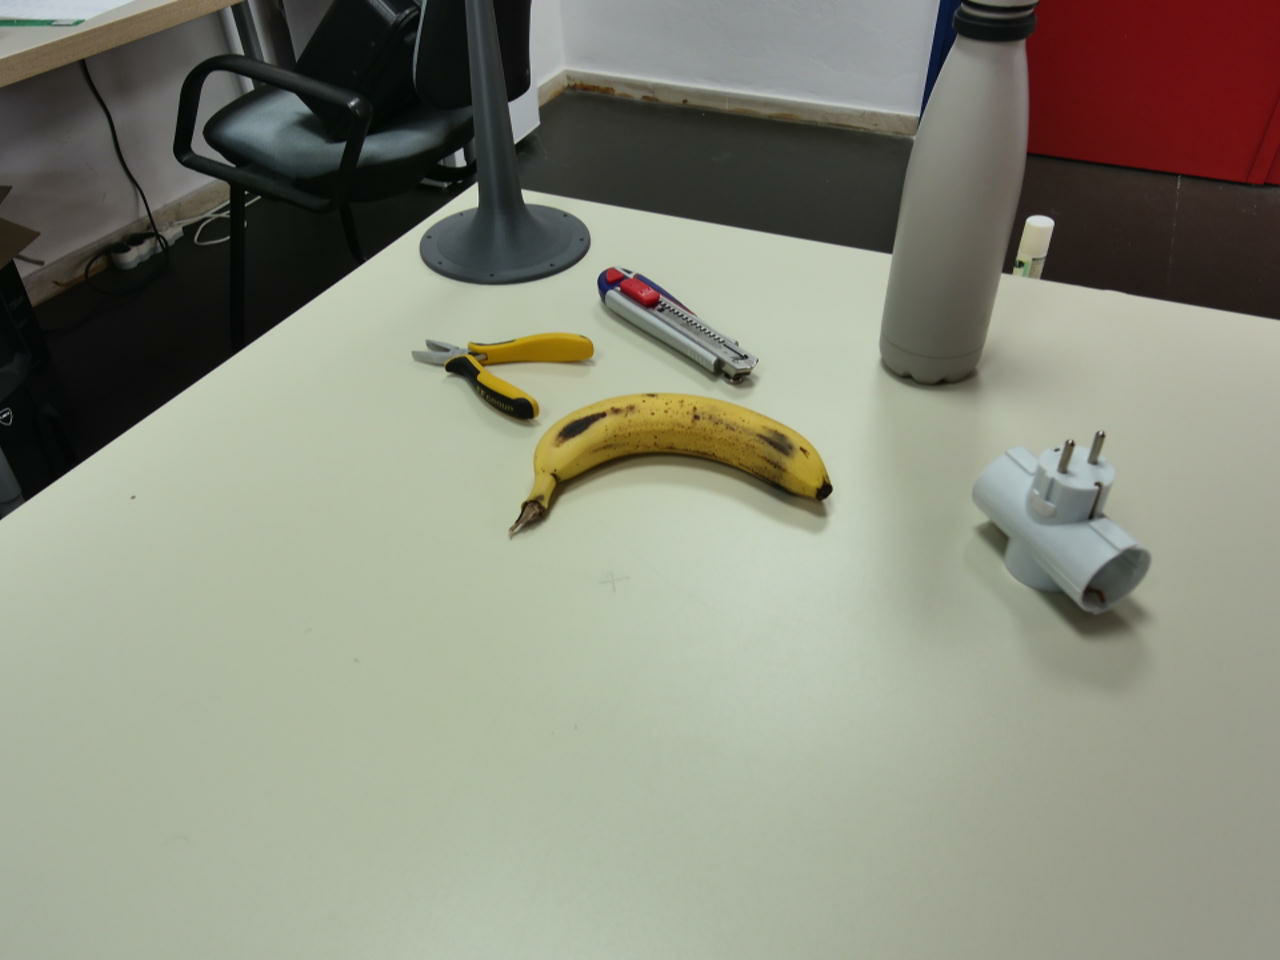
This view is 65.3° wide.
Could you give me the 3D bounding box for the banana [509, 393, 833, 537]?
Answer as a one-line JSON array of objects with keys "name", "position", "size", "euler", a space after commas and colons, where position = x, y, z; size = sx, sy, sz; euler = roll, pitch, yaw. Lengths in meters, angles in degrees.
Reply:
[{"name": "banana", "position": [0.018, -0.017, 0.614], "size": [0.186, 0.038, 0.097], "euler": [-3, 38, -2]}]
